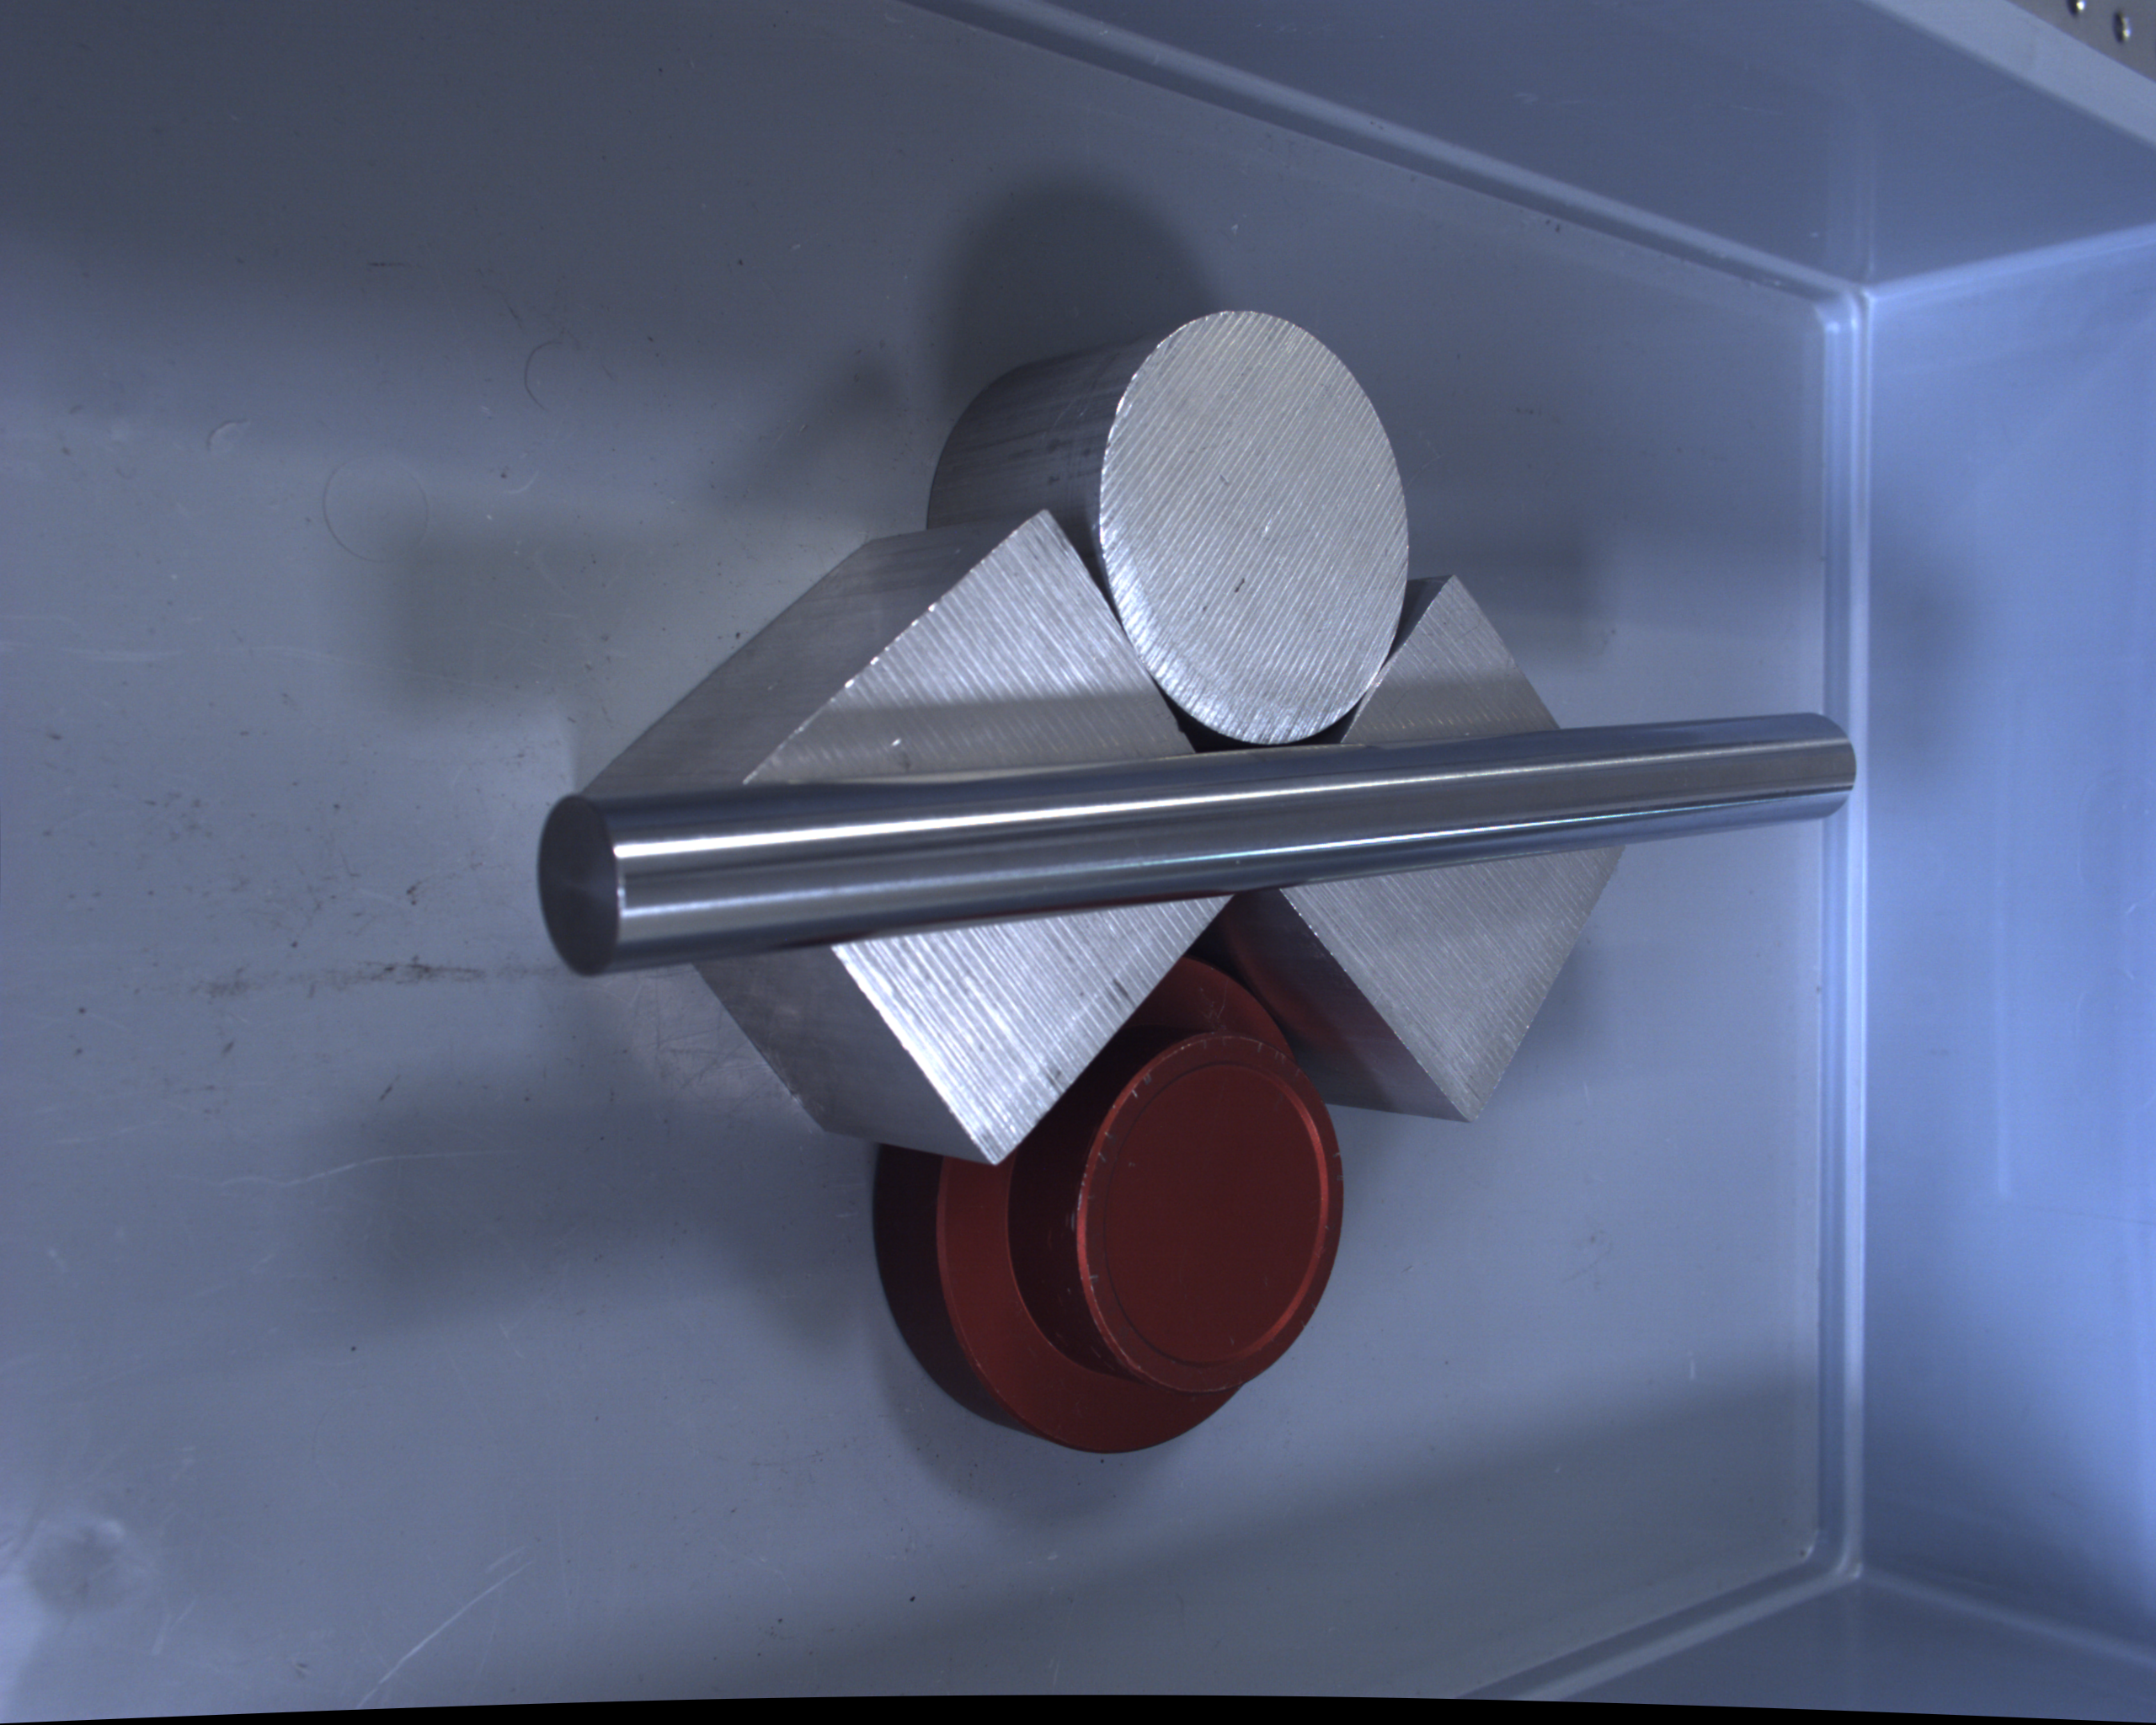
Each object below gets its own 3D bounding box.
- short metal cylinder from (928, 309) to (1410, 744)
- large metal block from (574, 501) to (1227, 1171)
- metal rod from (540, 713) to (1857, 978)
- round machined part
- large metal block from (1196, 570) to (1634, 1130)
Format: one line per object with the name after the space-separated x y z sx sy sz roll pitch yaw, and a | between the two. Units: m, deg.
0.018 -0.062 0.403 0.081 0.050 0.079 0 90 -40 | short metal cylinder
-0.026 -0.006 0.366 0.080 0.050 0.080 -47 120 -30 | large metal block
0.049 -0.009 0.378 0.302 0.025 0.025 -6 94 -39 | metal rod
0.013 0.066 0.405 0.099 0.042 0.097 0 90 -40 | round machined part
0.062 -0.003 0.437 0.080 0.050 0.080 50 62 -29 | large metal block
